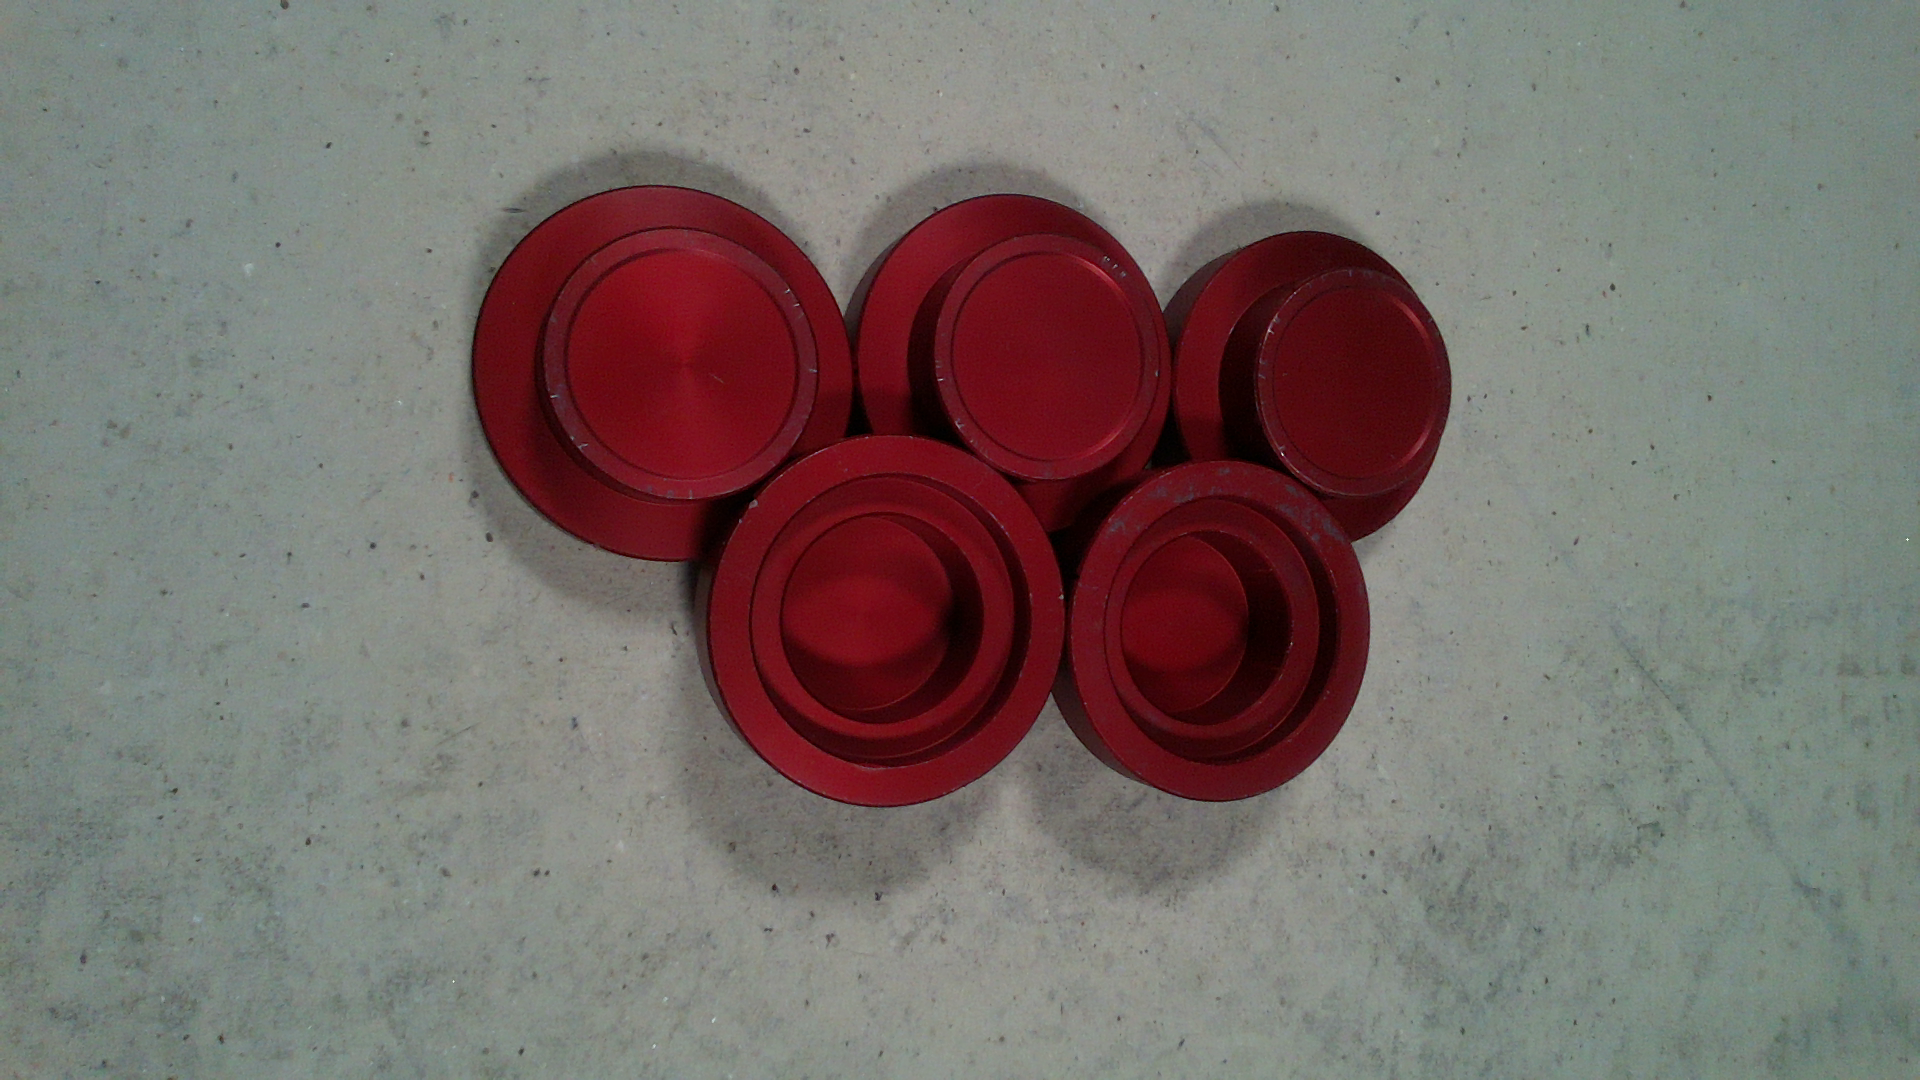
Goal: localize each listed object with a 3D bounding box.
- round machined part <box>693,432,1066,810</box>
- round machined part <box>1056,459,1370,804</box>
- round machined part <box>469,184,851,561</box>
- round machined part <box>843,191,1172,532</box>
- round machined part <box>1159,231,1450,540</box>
[{"bbox_3d":[-0.024,0.021,0.376,0.098,0.042,0.098,0,90,-20],"label":"round machined part"},{"bbox_3d":[0.069,0.026,0.410,0.098,0.042,0.098,0,90,-20],"label":"round machined part"},{"bbox_3d":[-0.075,-0.044,0.357,0.098,0.042,0.098,0,90,-20],"label":"round machined part"},{"bbox_3d":[0.017,-0.050,0.391,0.098,0.042,0.098,0,90,-20],"label":"round machined part"},{"bbox_3d":[0.110,-0.047,0.425,0.098,0.042,0.098,0,90,-20],"label":"round machined part"}]
